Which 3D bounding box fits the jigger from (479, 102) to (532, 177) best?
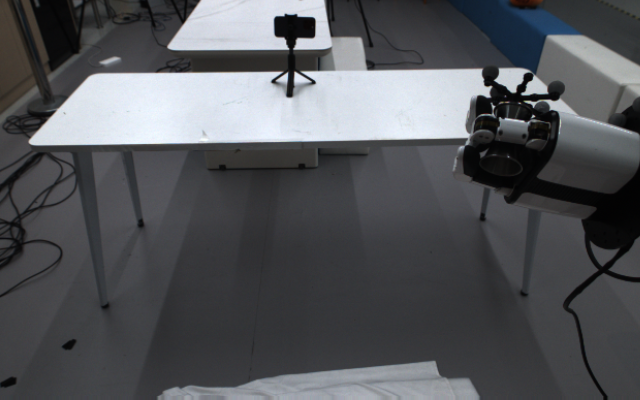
[{"bbox_3d":[0.201,-0.065,0.520,0.043,0.043,0.071,12,72,15],"label":"jigger"}]
